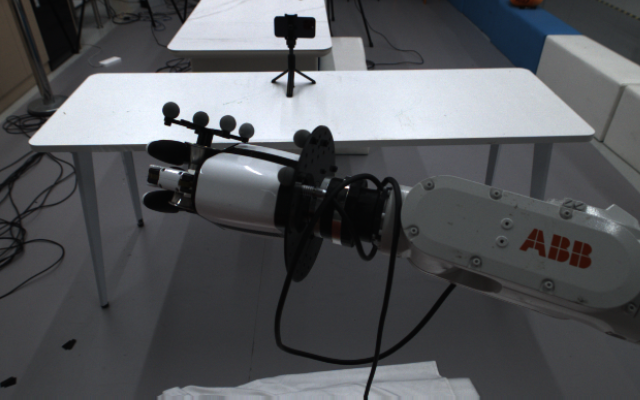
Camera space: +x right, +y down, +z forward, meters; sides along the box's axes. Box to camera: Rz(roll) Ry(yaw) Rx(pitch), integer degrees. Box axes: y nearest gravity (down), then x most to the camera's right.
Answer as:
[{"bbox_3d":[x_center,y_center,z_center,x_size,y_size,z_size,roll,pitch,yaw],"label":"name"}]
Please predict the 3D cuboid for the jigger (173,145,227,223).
[{"bbox_3d":[-0.129,-0.024,0.521,0.043,0.071,0.043,14,2,0],"label":"jigger"}]
